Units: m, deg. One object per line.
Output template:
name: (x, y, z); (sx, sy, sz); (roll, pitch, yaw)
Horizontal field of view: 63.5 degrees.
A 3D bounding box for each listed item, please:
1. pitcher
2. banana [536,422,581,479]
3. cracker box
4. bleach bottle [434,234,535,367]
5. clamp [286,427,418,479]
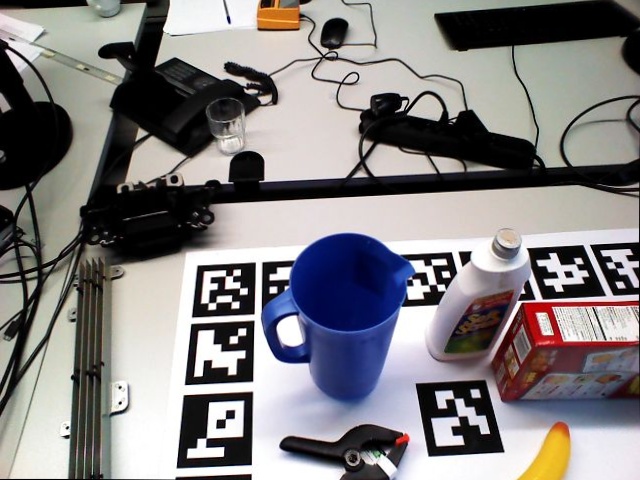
pitcher: (0.032, 0.110, 0.653); (0.188, 0.243, 0.133); (-16, 51, -13)
banana: (0.271, 0.305, 0.652); (0.196, 0.039, 0.074); (-30, 55, -19)
cracker box: (0.376, 0.153, 0.660); (0.214, 0.165, 0.071); (-2, 48, 4)
bleach bottle: (0.219, 0.084, 0.688); (0.103, 0.251, 0.067); (-2, 50, 1)
clamp: (0.050, 0.290, 0.667); (0.165, 0.037, 0.121); (-14, 50, -11)
